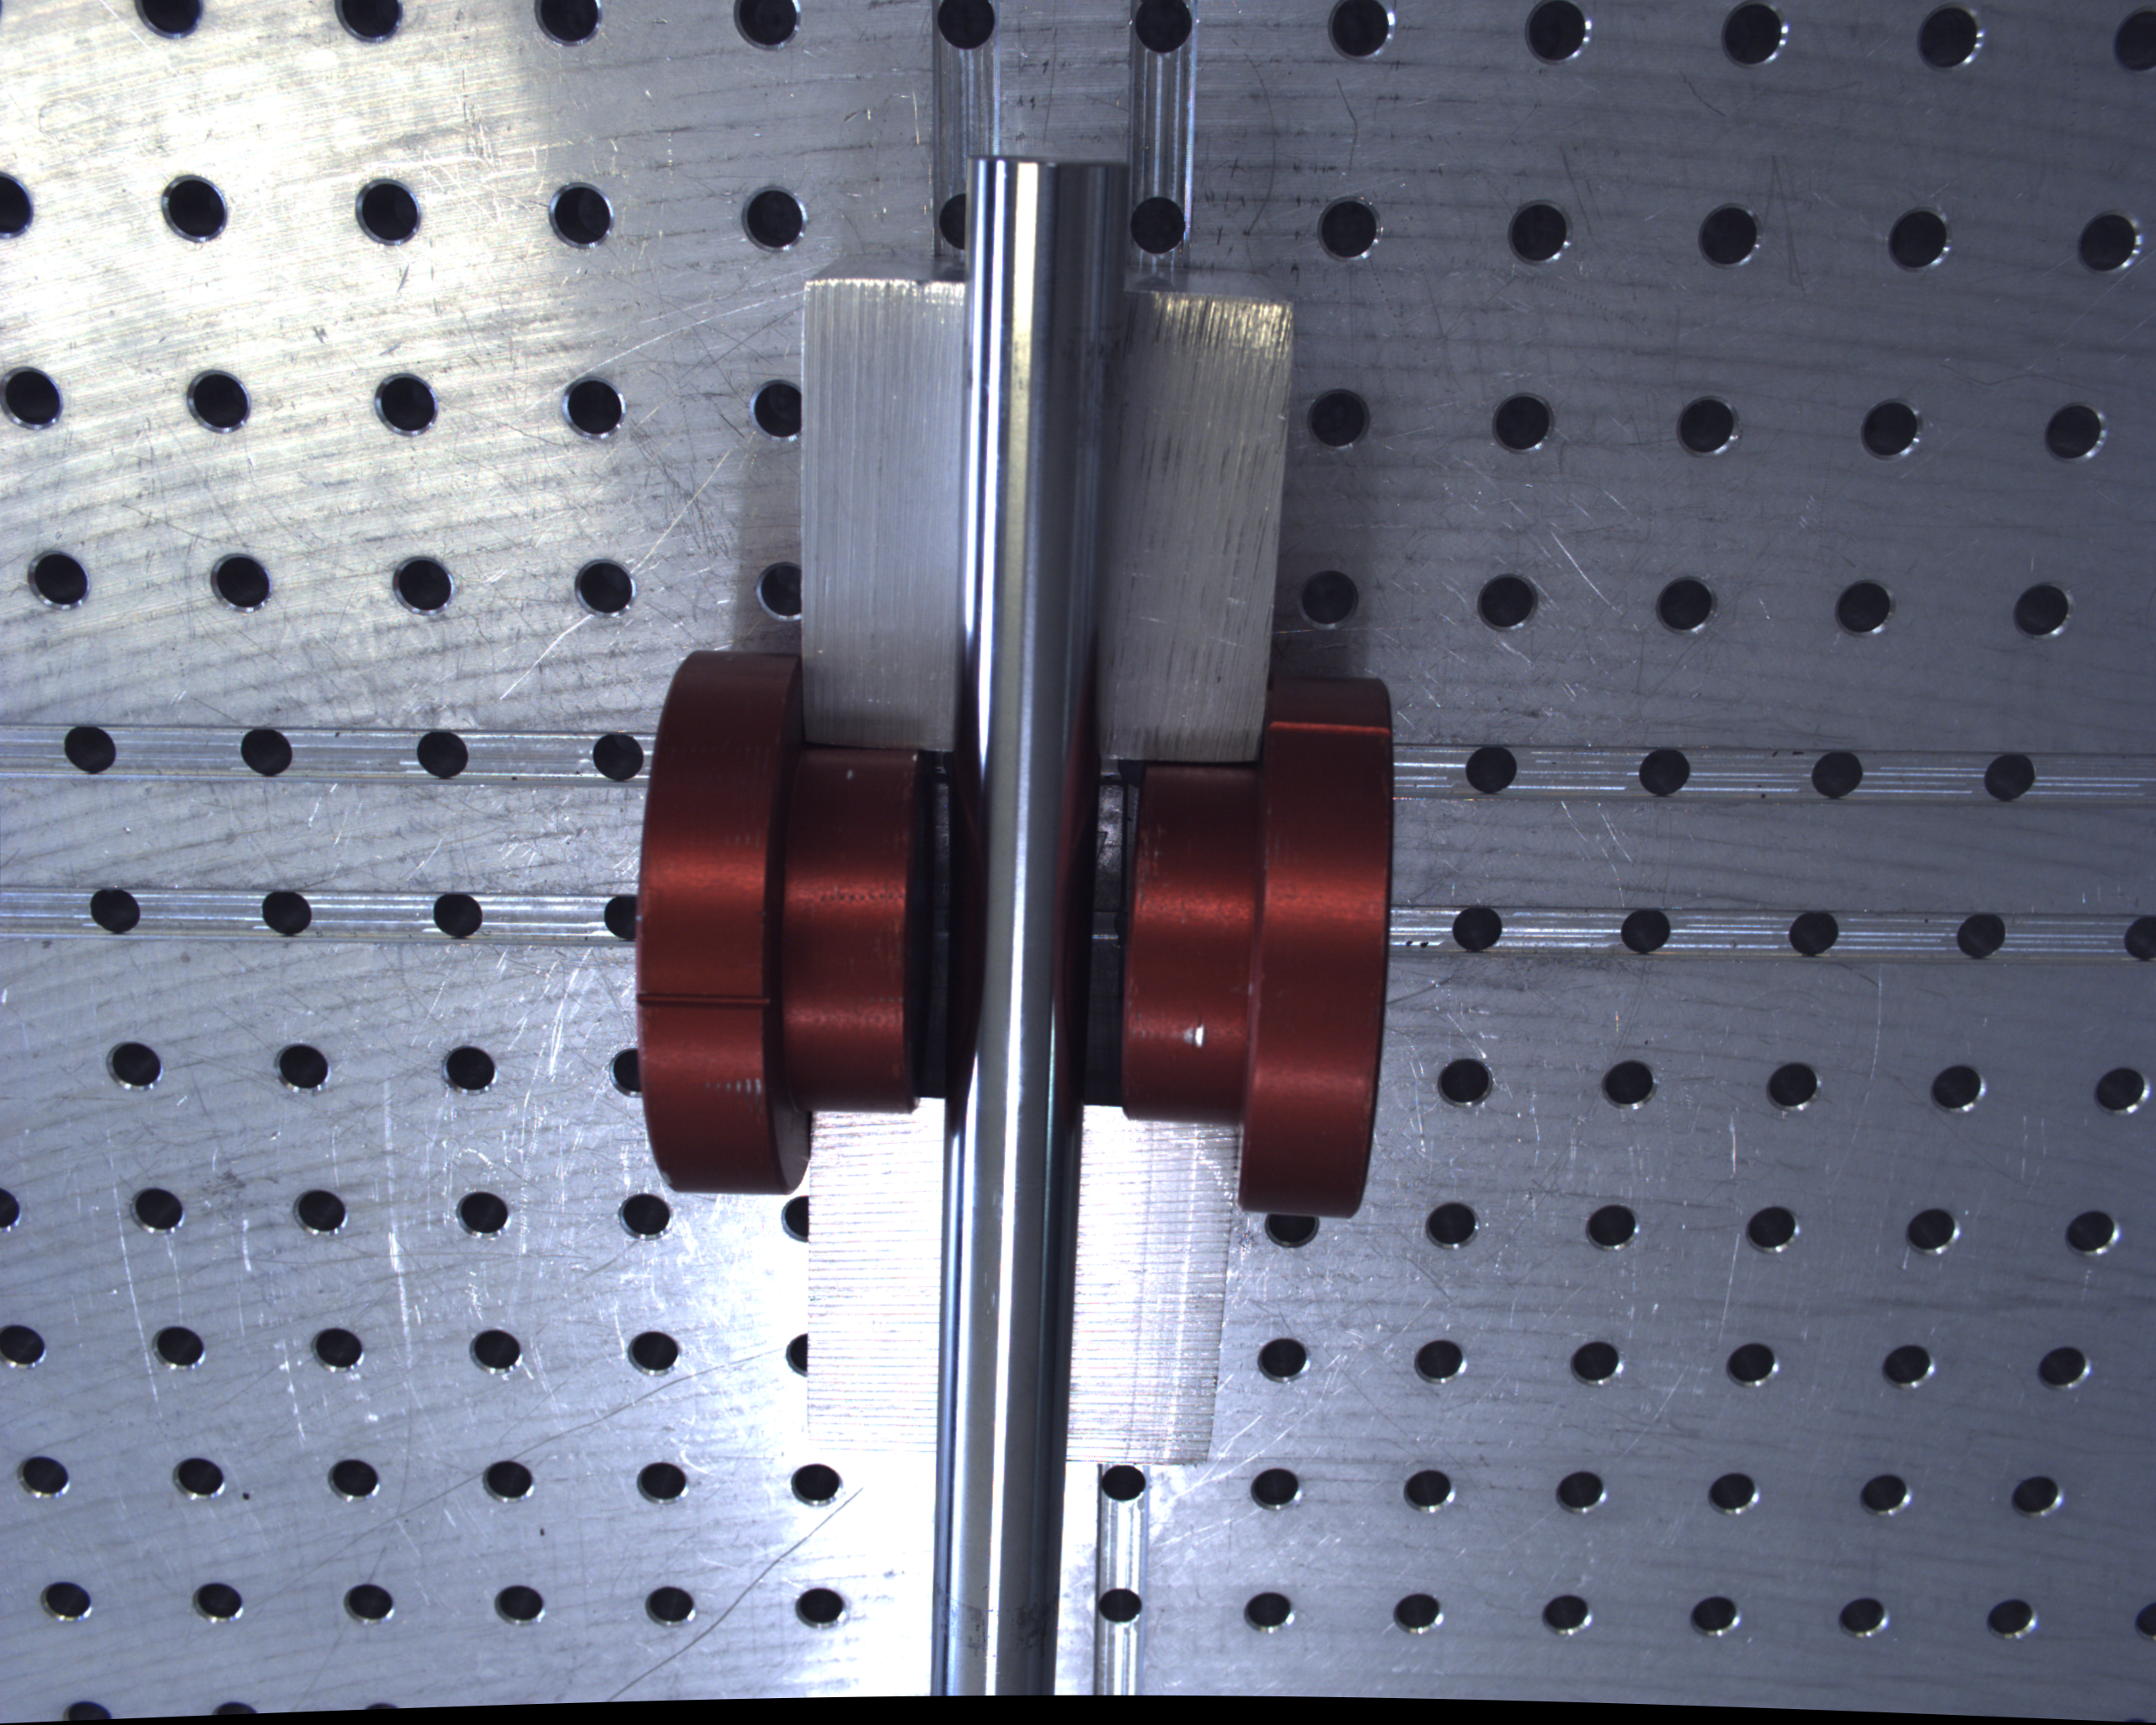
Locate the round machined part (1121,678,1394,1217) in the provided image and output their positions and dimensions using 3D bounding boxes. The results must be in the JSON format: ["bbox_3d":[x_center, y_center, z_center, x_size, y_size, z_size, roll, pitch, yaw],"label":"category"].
[{"bbox_3d":[0.031,0.014,0.380,0.042,0.098,0.097,3,110,4],"label":"round machined part"}]

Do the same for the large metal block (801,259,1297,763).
[{"bbox_3d":[-0.006,-0.065,0.376,0.081,0.050,0.079,2,110,-1],"label":"large metal block"}]

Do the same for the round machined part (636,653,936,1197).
[{"bbox_3d":[-0.049,0.011,0.377,0.042,0.098,0.097,2,110,-1],"label":"round machined part"}]

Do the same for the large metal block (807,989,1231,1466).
[{"bbox_3d":[-0.012,0.073,0.426,0.081,0.050,0.079,3,110,-1],"label":"large metal block"}]

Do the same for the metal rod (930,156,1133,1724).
[{"bbox_3d":[-0.011,0.032,0.371,0.025,0.025,0.298,2,110,-1],"label":"metal rod"}]
